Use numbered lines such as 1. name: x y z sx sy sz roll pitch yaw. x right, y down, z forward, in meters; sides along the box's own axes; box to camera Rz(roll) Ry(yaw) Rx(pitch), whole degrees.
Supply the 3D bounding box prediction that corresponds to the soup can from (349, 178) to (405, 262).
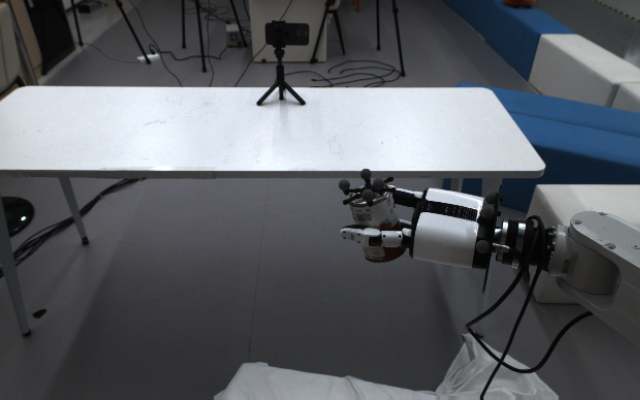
1. soup can: 0.089 0.035 0.735 0.067 0.101 0.067 -16 22 7
